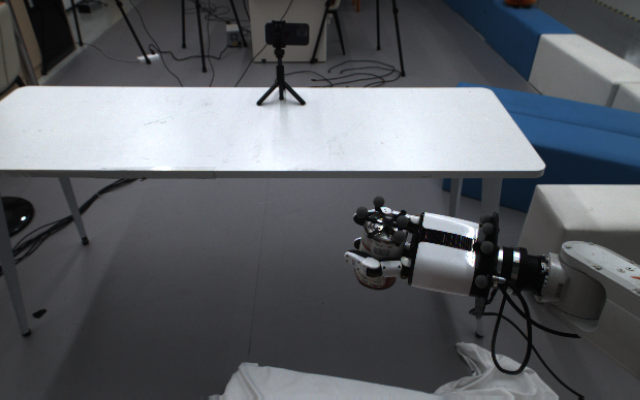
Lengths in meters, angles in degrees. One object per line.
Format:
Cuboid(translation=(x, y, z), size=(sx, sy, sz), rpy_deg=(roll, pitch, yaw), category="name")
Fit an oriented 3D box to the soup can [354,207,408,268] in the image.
Cuboid(translation=(0.095, 0.079, 0.745), size=(0.067, 0.101, 0.067), rpy_deg=(5, 37, -3), category="soup can")
